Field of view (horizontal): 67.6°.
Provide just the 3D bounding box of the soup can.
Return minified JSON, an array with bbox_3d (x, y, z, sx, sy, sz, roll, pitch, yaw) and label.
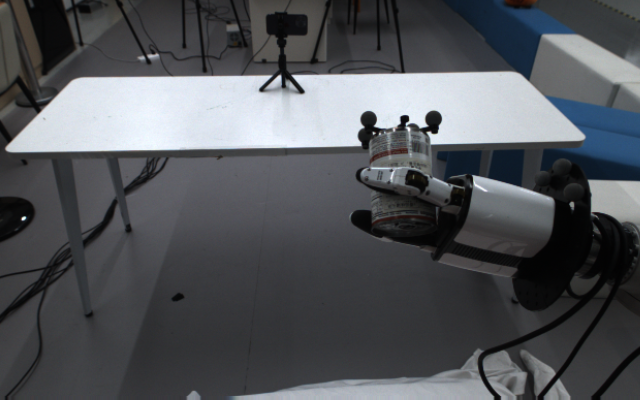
[{"bbox_3d":[0.088,-0.017,0.511,0.067,0.067,0.101,1,72,-2],"label":"soup can"}]
